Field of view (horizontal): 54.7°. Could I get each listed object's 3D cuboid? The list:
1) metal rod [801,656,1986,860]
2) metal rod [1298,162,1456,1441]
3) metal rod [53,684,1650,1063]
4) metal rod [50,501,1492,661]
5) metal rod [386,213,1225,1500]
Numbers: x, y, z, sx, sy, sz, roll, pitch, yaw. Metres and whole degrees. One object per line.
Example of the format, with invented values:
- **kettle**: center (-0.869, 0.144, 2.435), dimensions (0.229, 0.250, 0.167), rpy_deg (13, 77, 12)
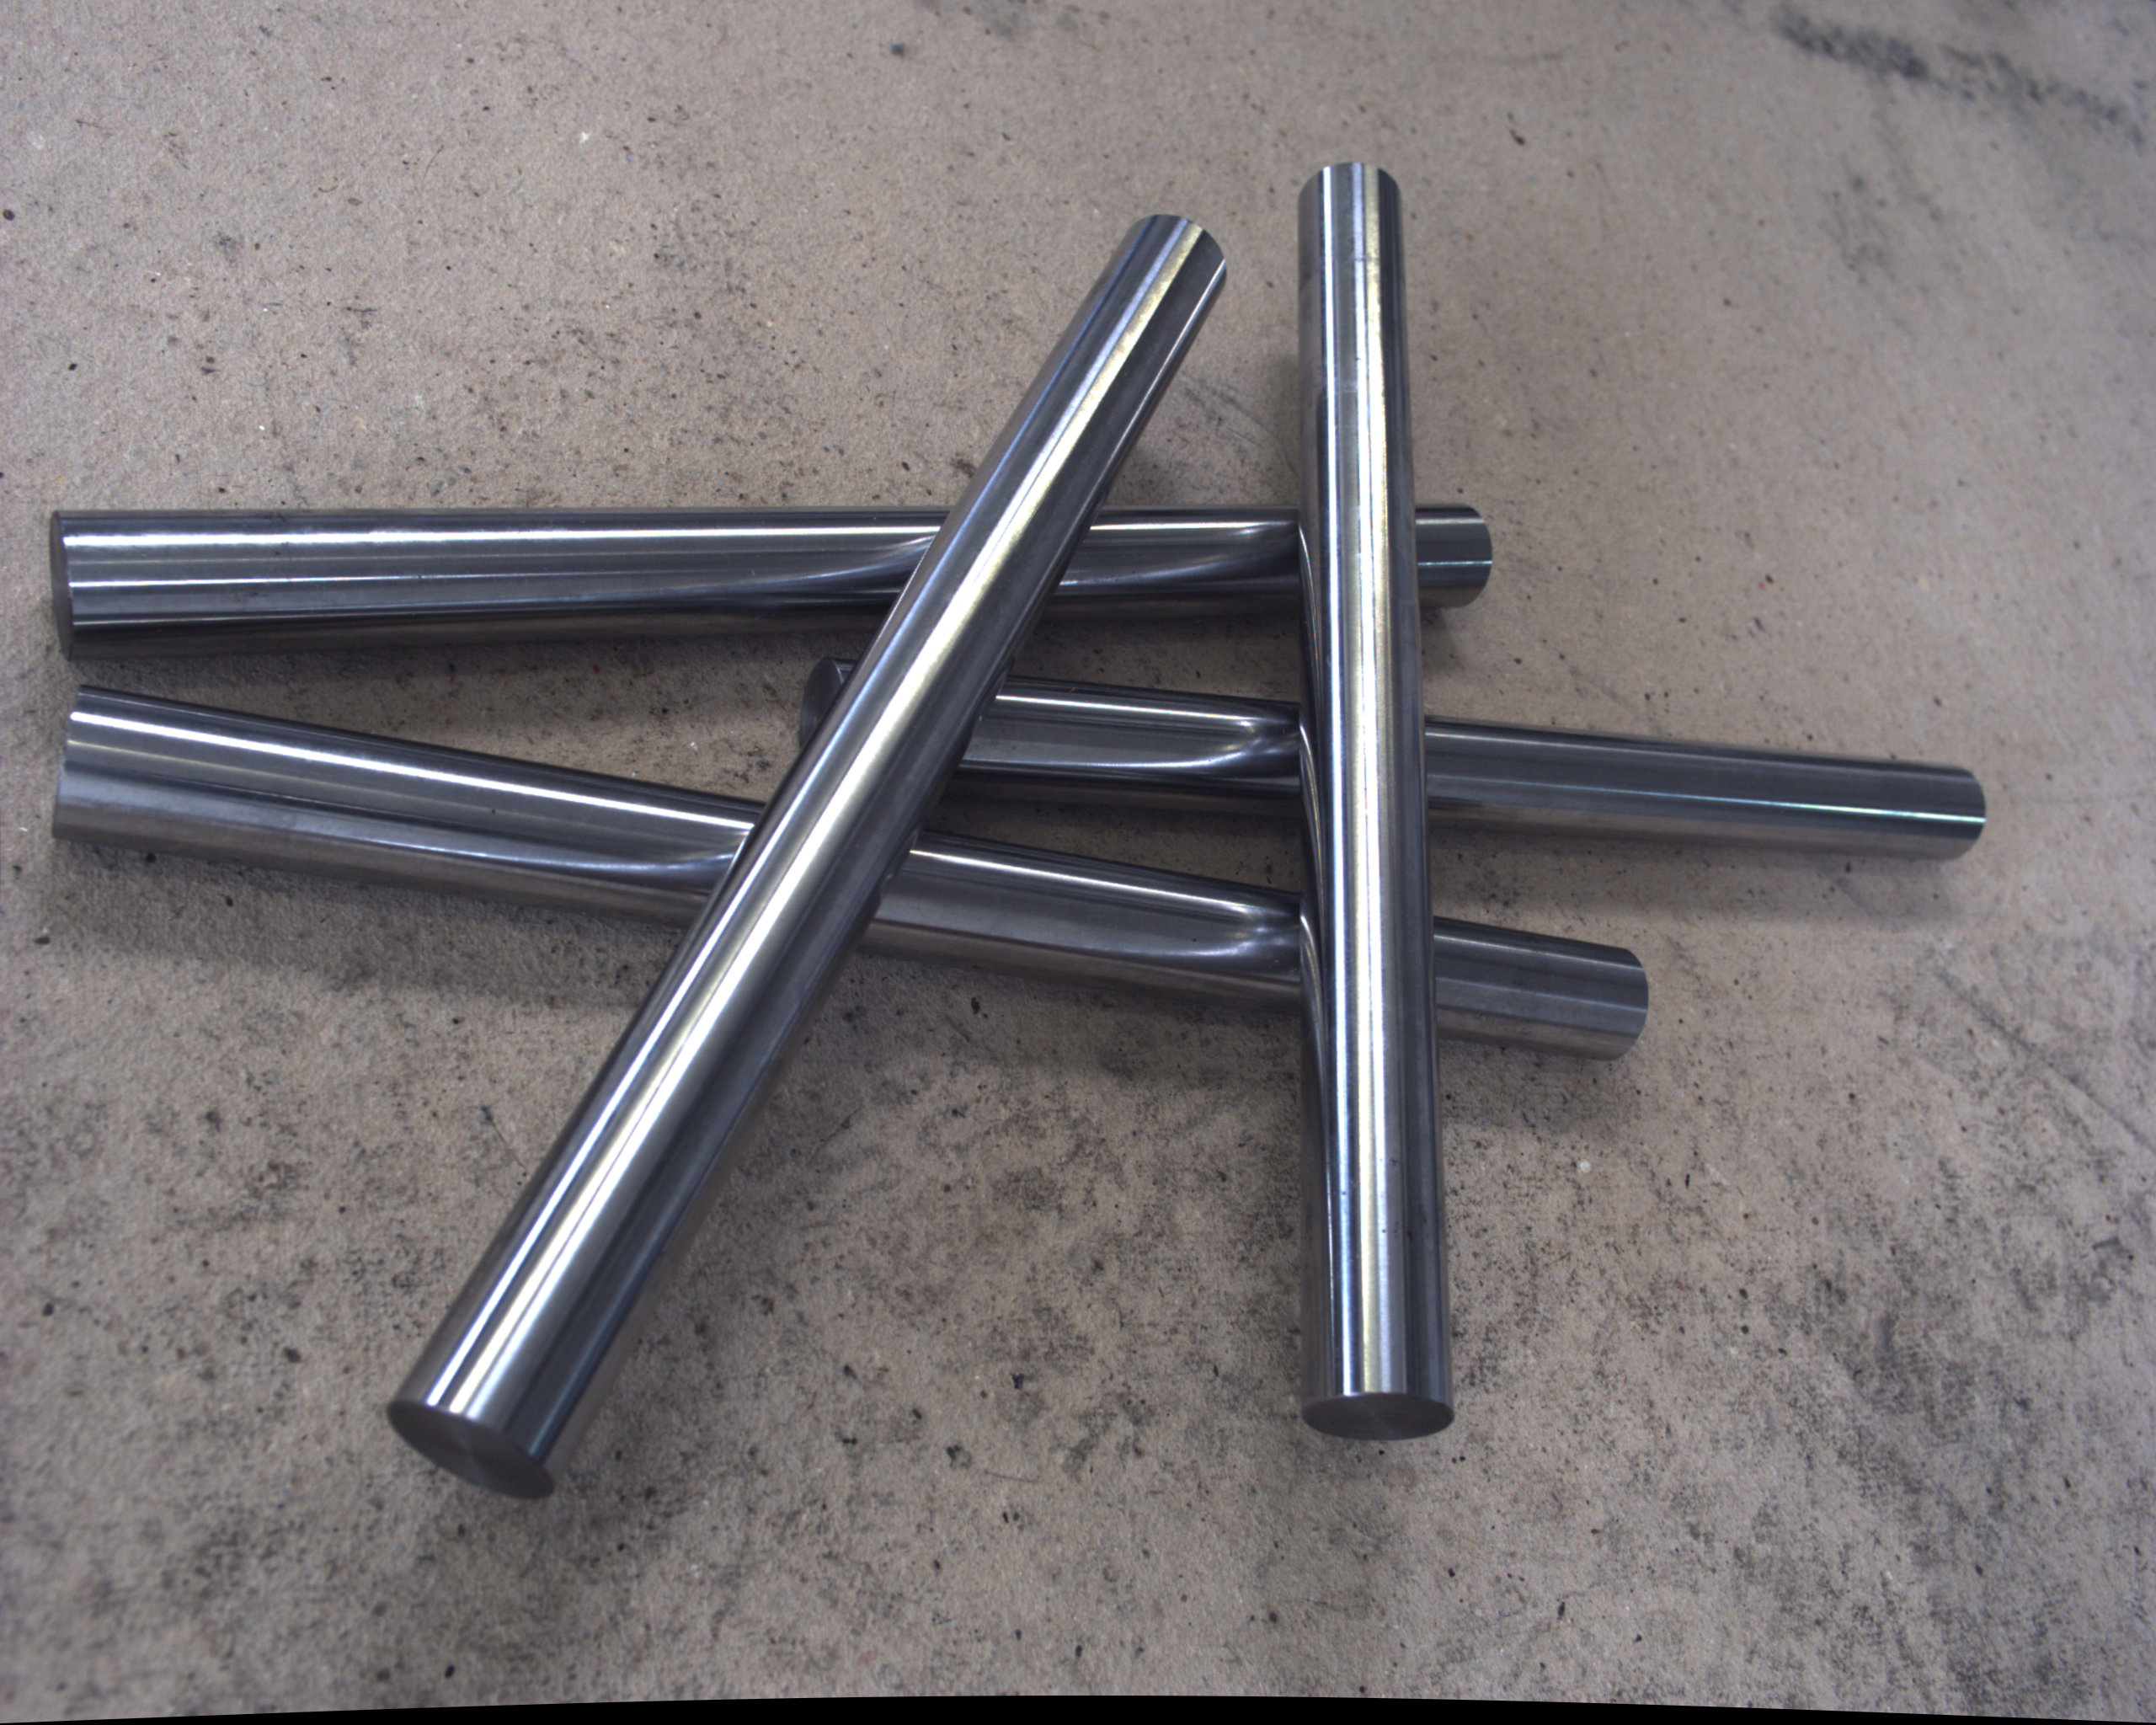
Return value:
- **metal rod**: center (0.086, -0.020, 0.463), dimensions (0.302, 0.025, 0.025), rpy_deg (3, 61, -27)
- **metal rod**: center (0.058, -0.034, 0.425), dimensions (0.025, 0.025, 0.300), rpy_deg (17, 55, -19)
- **metal rod**: center (-0.022, 0.007, 0.388), dimensions (0.302, 0.025, 0.025), rpy_deg (10, 58, -23)
- **metal rod**: center (-0.039, -0.060, 0.421), dimensions (0.303, 0.025, 0.025), rpy_deg (-6, 65, -31)
- **metal rod**: center (-0.030, -0.027, 0.373), dimensions (0.025, 0.025, 0.301), rpy_deg (32, 52, -8)
